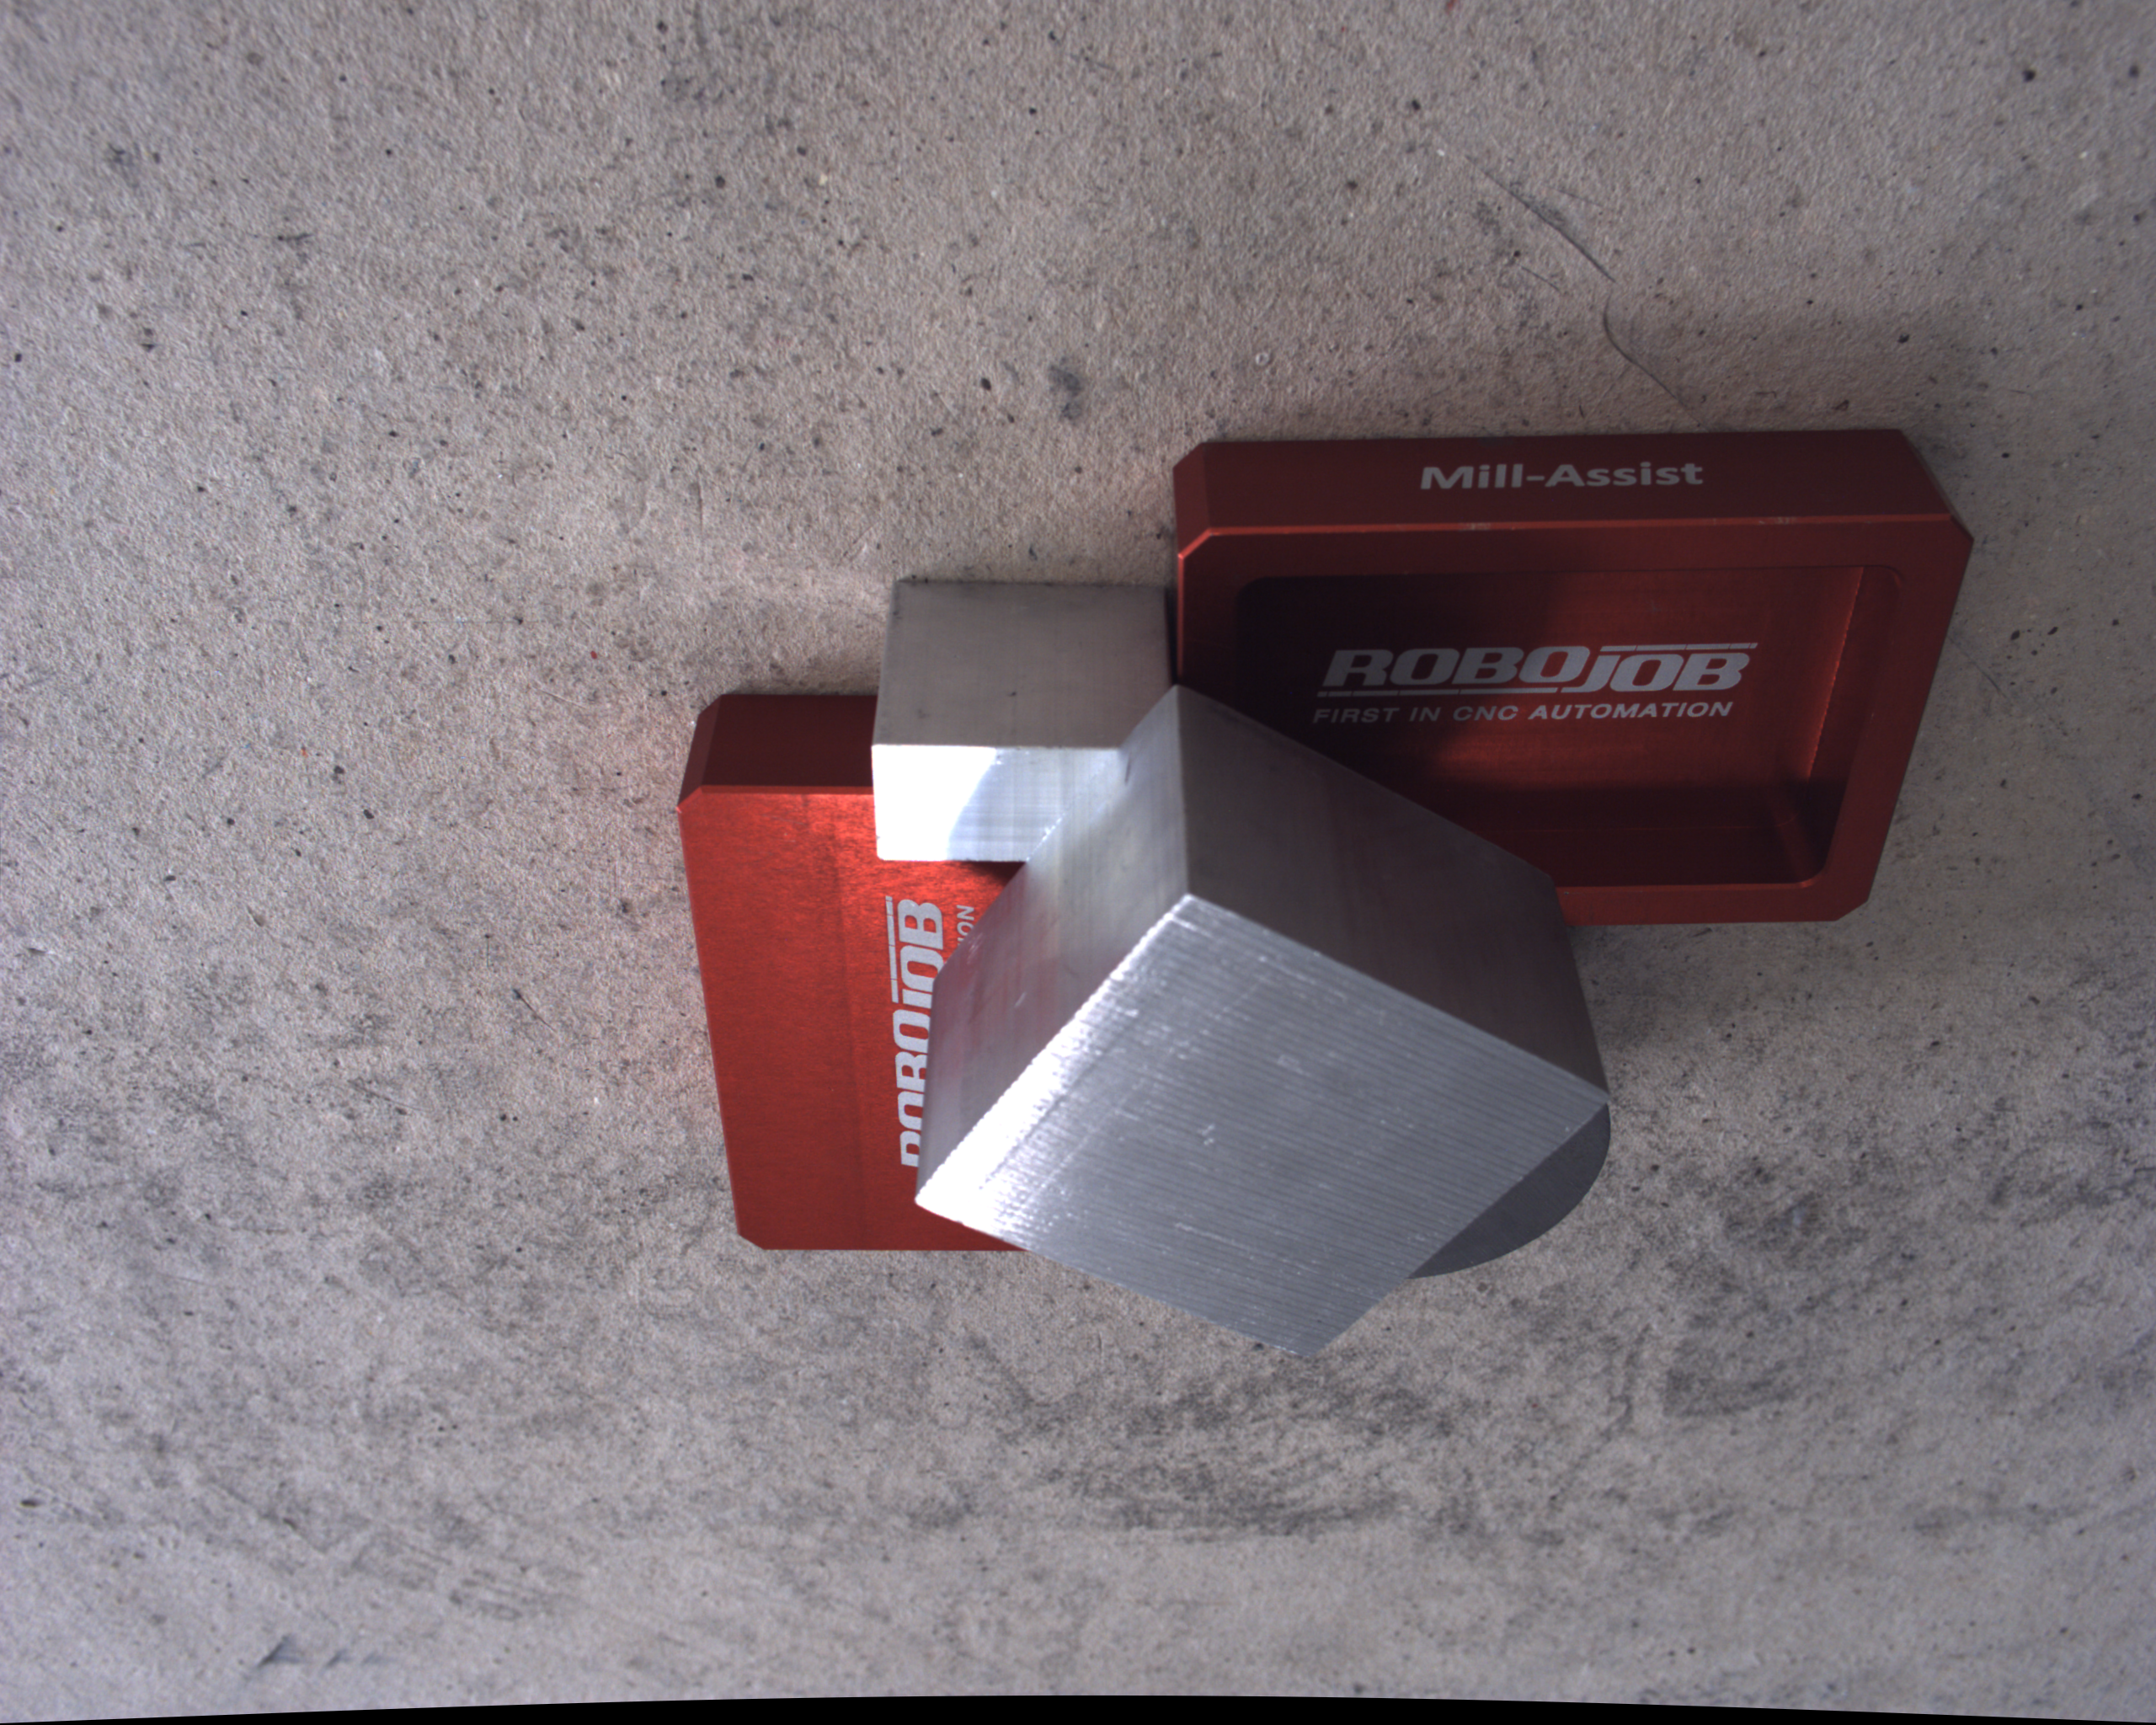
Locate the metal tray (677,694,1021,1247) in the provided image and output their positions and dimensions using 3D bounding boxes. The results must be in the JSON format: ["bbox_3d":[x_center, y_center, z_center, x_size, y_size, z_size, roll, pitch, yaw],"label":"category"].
[{"bbox_3d":[-0.028,0.026,0.429,0.091,0.030,0.129,1,130,-1],"label":"metal tray"}]

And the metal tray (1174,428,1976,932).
[{"bbox_3d":[0.083,-0.031,0.380,0.131,0.030,0.089,-1,130,1],"label":"metal tray"}]

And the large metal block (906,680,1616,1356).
[{"bbox_3d":[0.028,0.029,0.350,0.080,0.050,0.080,26,126,-21],"label":"large metal block"}]

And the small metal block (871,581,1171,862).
[{"bbox_3d":[-0.009,-0.026,0.371,0.050,0.050,0.025,1,130,-1],"label":"small metal block"}]

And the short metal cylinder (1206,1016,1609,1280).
[{"bbox_3d":[0.063,0.041,0.427,0.080,0.050,0.079,0,130,0],"label":"short metal cylinder"}]
